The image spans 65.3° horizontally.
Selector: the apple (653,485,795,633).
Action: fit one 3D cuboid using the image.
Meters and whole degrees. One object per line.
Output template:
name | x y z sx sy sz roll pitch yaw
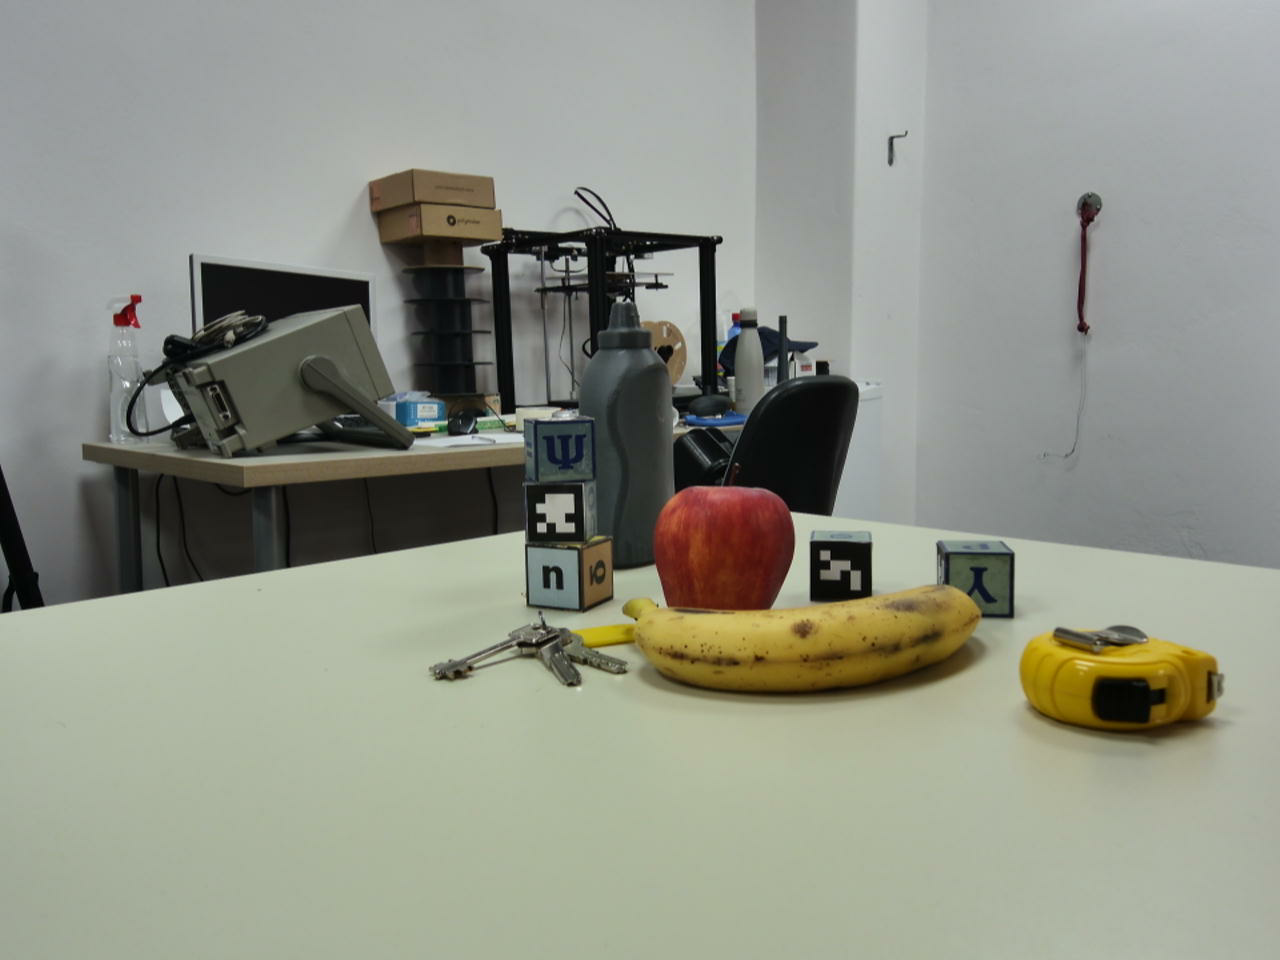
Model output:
apple | 0.049 0.035 0.567 0.083 0.090 0.083 1 5 0
